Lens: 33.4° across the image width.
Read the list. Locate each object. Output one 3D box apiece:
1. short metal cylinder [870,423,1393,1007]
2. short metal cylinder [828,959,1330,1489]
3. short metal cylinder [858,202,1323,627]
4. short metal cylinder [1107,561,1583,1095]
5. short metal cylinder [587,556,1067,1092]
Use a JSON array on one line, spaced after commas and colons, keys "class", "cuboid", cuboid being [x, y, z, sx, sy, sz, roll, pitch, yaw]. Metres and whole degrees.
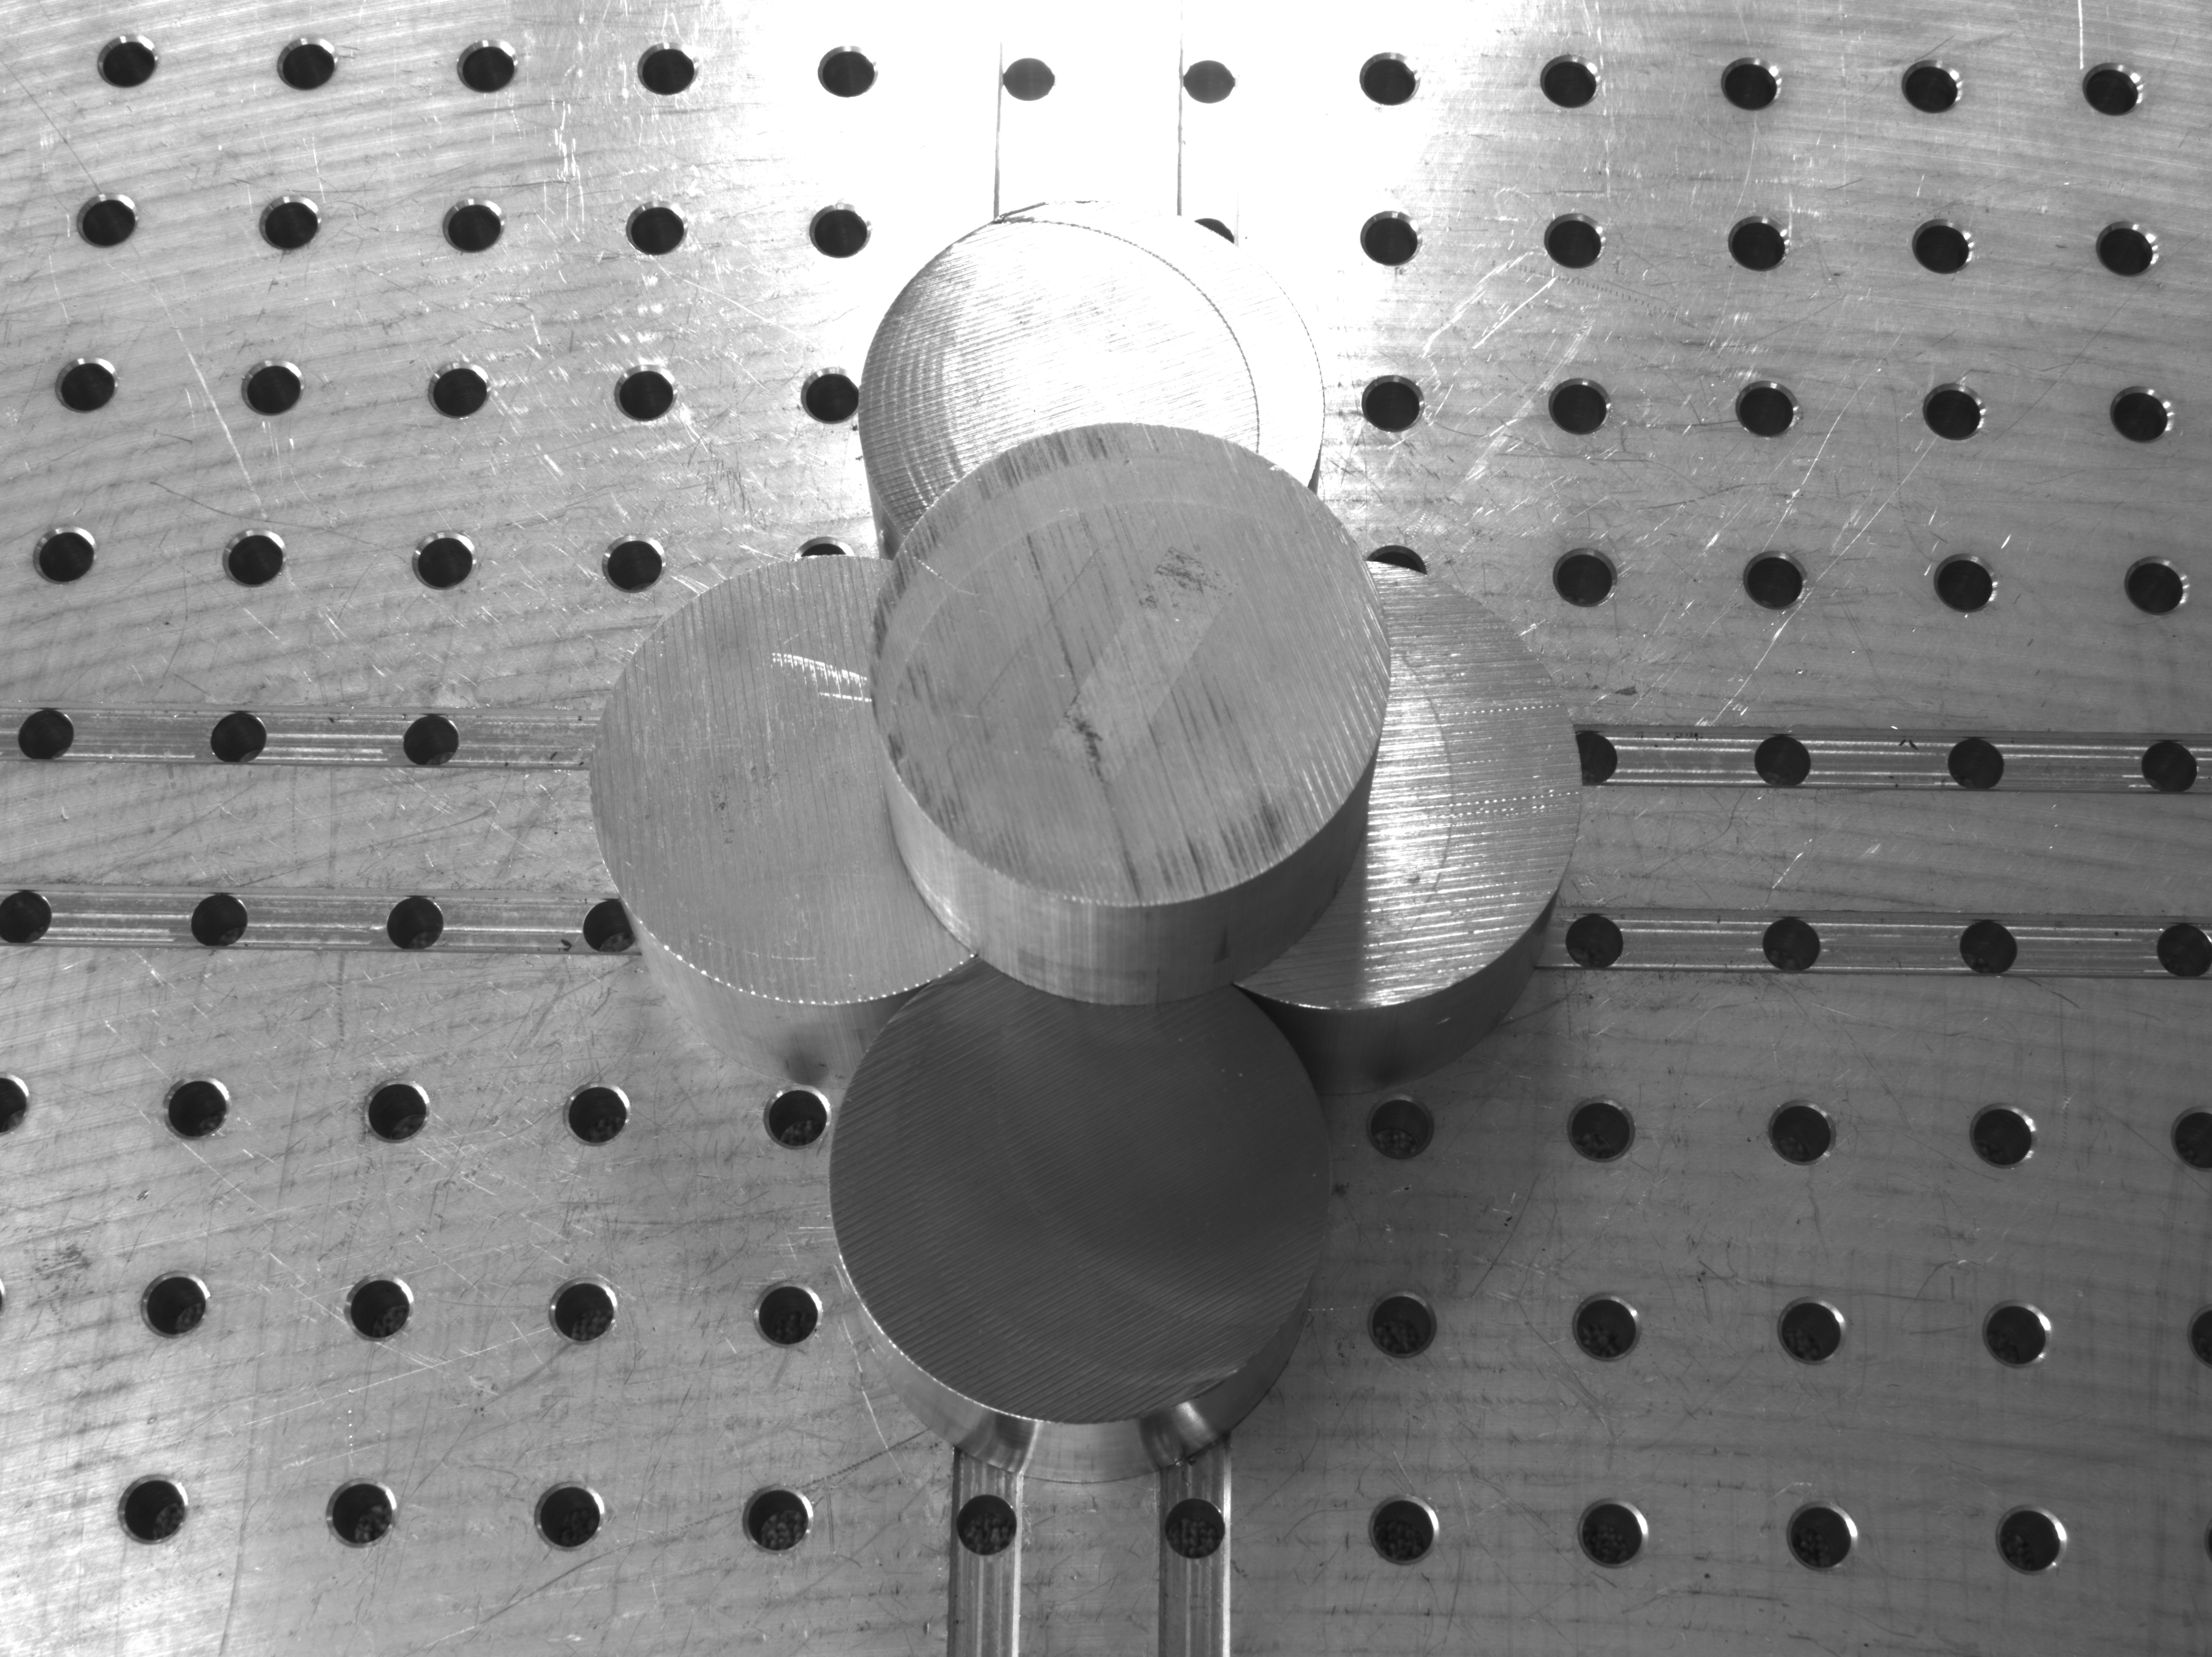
[{"class": "short metal cylinder", "cuboid": [0.004, -0.017, 0.587, 0.080, 0.050, 0.080, 0, 70, 0]}, {"class": "short metal cylinder", "cuboid": [-0.004, 0.064, 0.610, 0.080, 0.050, 0.080, 0, 68, 0]}, {"class": "short metal cylinder", "cuboid": [-0.003, -0.064, 0.658, 0.080, 0.050, 0.080, 0, 70, -1]}, {"class": "short metal cylinder", "cuboid": [0.039, 0.000, 0.634, 0.080, 0.050, 0.080, 0, 70, 0]}, {"class": "short metal cylinder", "cuboid": [-0.046, 0.000, 0.635, 0.080, 0.050, 0.080, 0, 70, 0]}]
